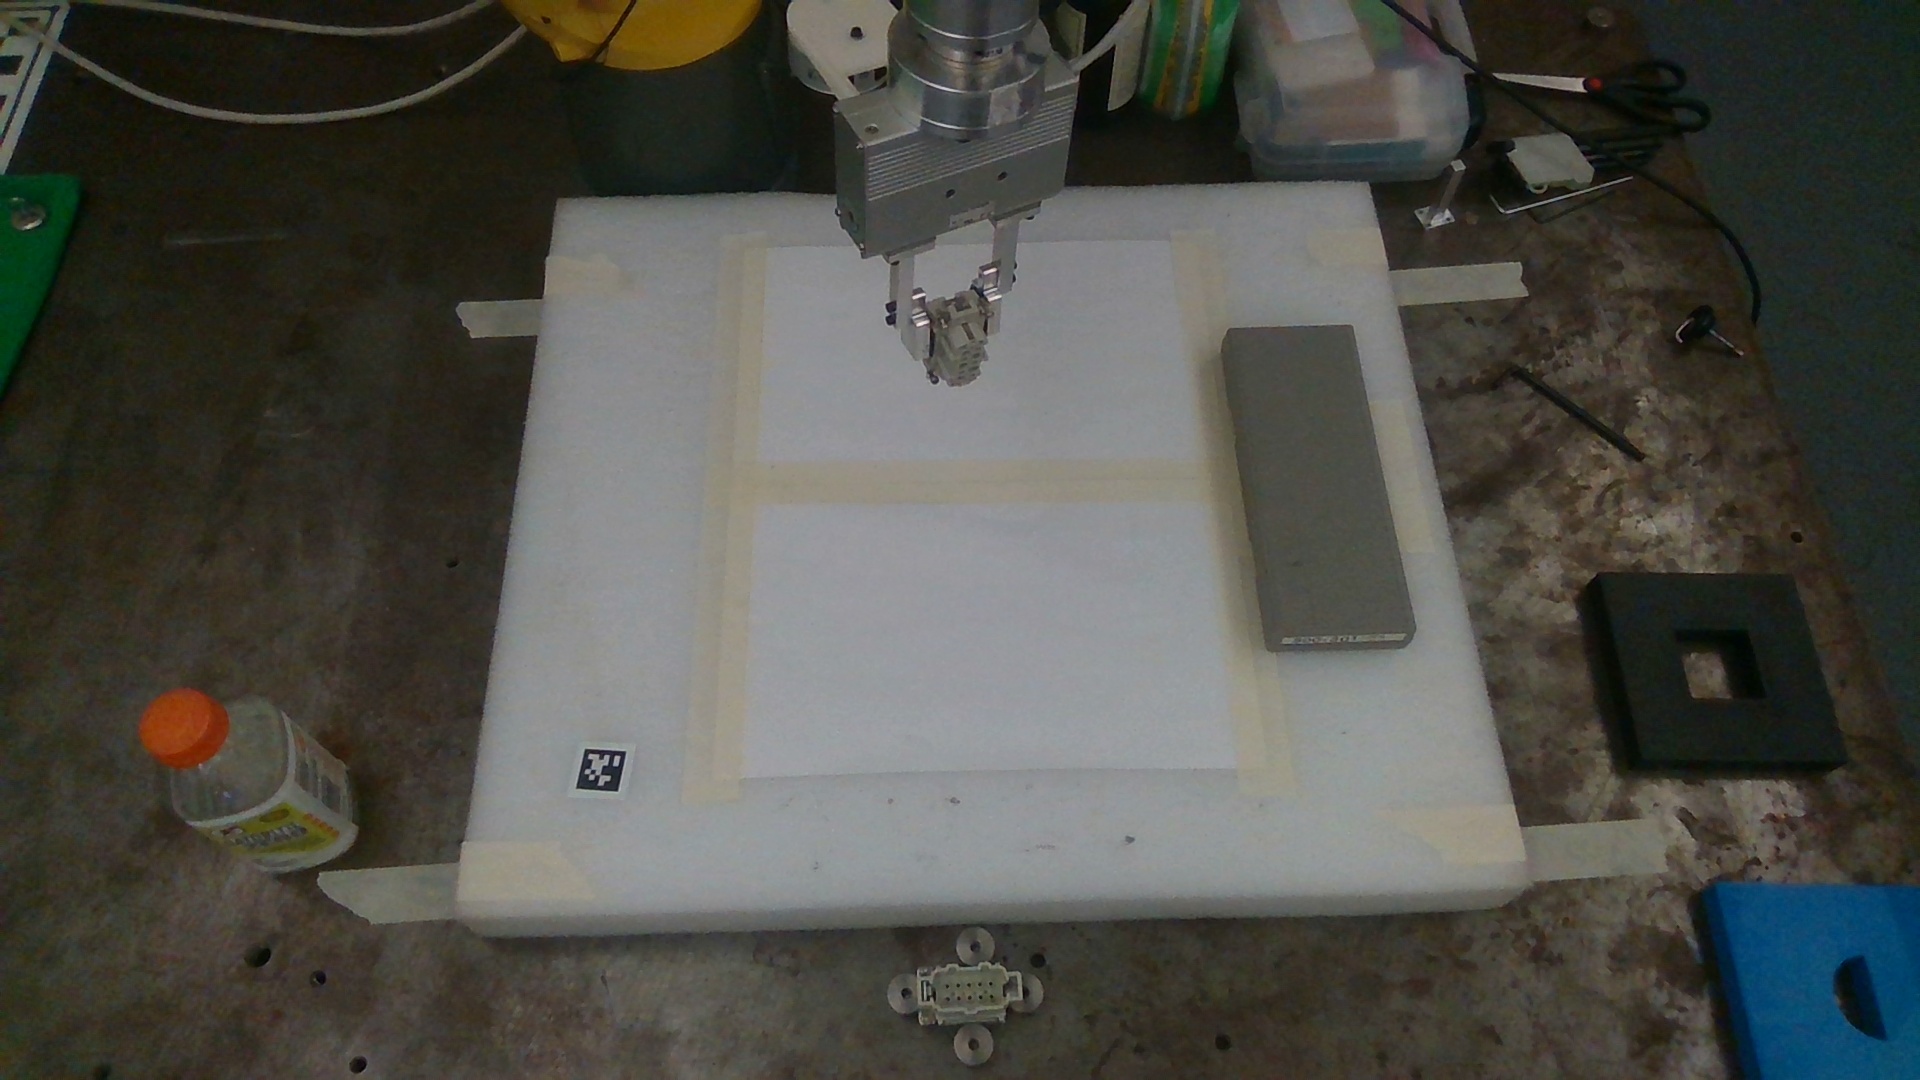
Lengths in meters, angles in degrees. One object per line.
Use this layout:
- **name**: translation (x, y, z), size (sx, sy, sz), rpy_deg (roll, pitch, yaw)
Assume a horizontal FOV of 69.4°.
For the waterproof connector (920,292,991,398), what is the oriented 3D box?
- **waterproof connector**: translation (-0.002, -0.115, 0.822), size (0.036, 0.069, 0.039), rpy_deg (-17, 58, -15)
